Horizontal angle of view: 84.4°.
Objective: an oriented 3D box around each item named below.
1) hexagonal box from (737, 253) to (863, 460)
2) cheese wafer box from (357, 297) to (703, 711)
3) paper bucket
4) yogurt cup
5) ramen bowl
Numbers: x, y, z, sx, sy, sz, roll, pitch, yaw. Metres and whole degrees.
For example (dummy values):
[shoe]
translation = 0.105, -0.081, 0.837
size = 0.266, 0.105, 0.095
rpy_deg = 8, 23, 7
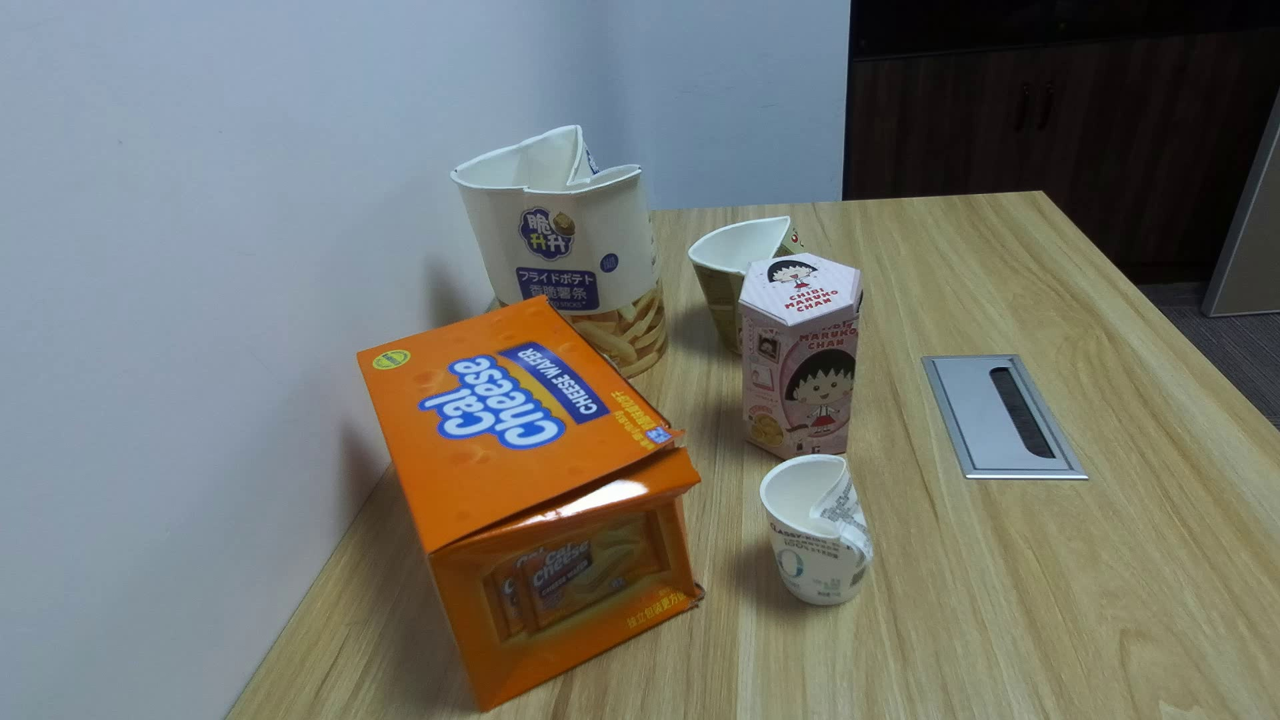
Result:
[hexagonal box]
translation = 0.118, -0.001, 0.528
size = 0.092, 0.135, 0.085
rpy_deg = -10, 33, -6
[cheese wafer box]
translation = -0.077, 0.071, 0.458
size = 0.150, 0.137, 0.226
rpy_deg = -20, 34, -21
[paper bucket]
translation = -0.049, -0.090, 0.646
size = 0.162, 0.202, 0.169
rpy_deg = 23, 45, 36
[yogurt cup]
translation = 0.106, 0.104, 0.424
size = 0.067, 0.070, 0.067
rpy_deg = -5, 35, 4
[ramen bowl]
translation = 0.121, -0.070, 0.683
size = 0.137, 0.098, 0.137
rpy_deg = -4, 33, 3
